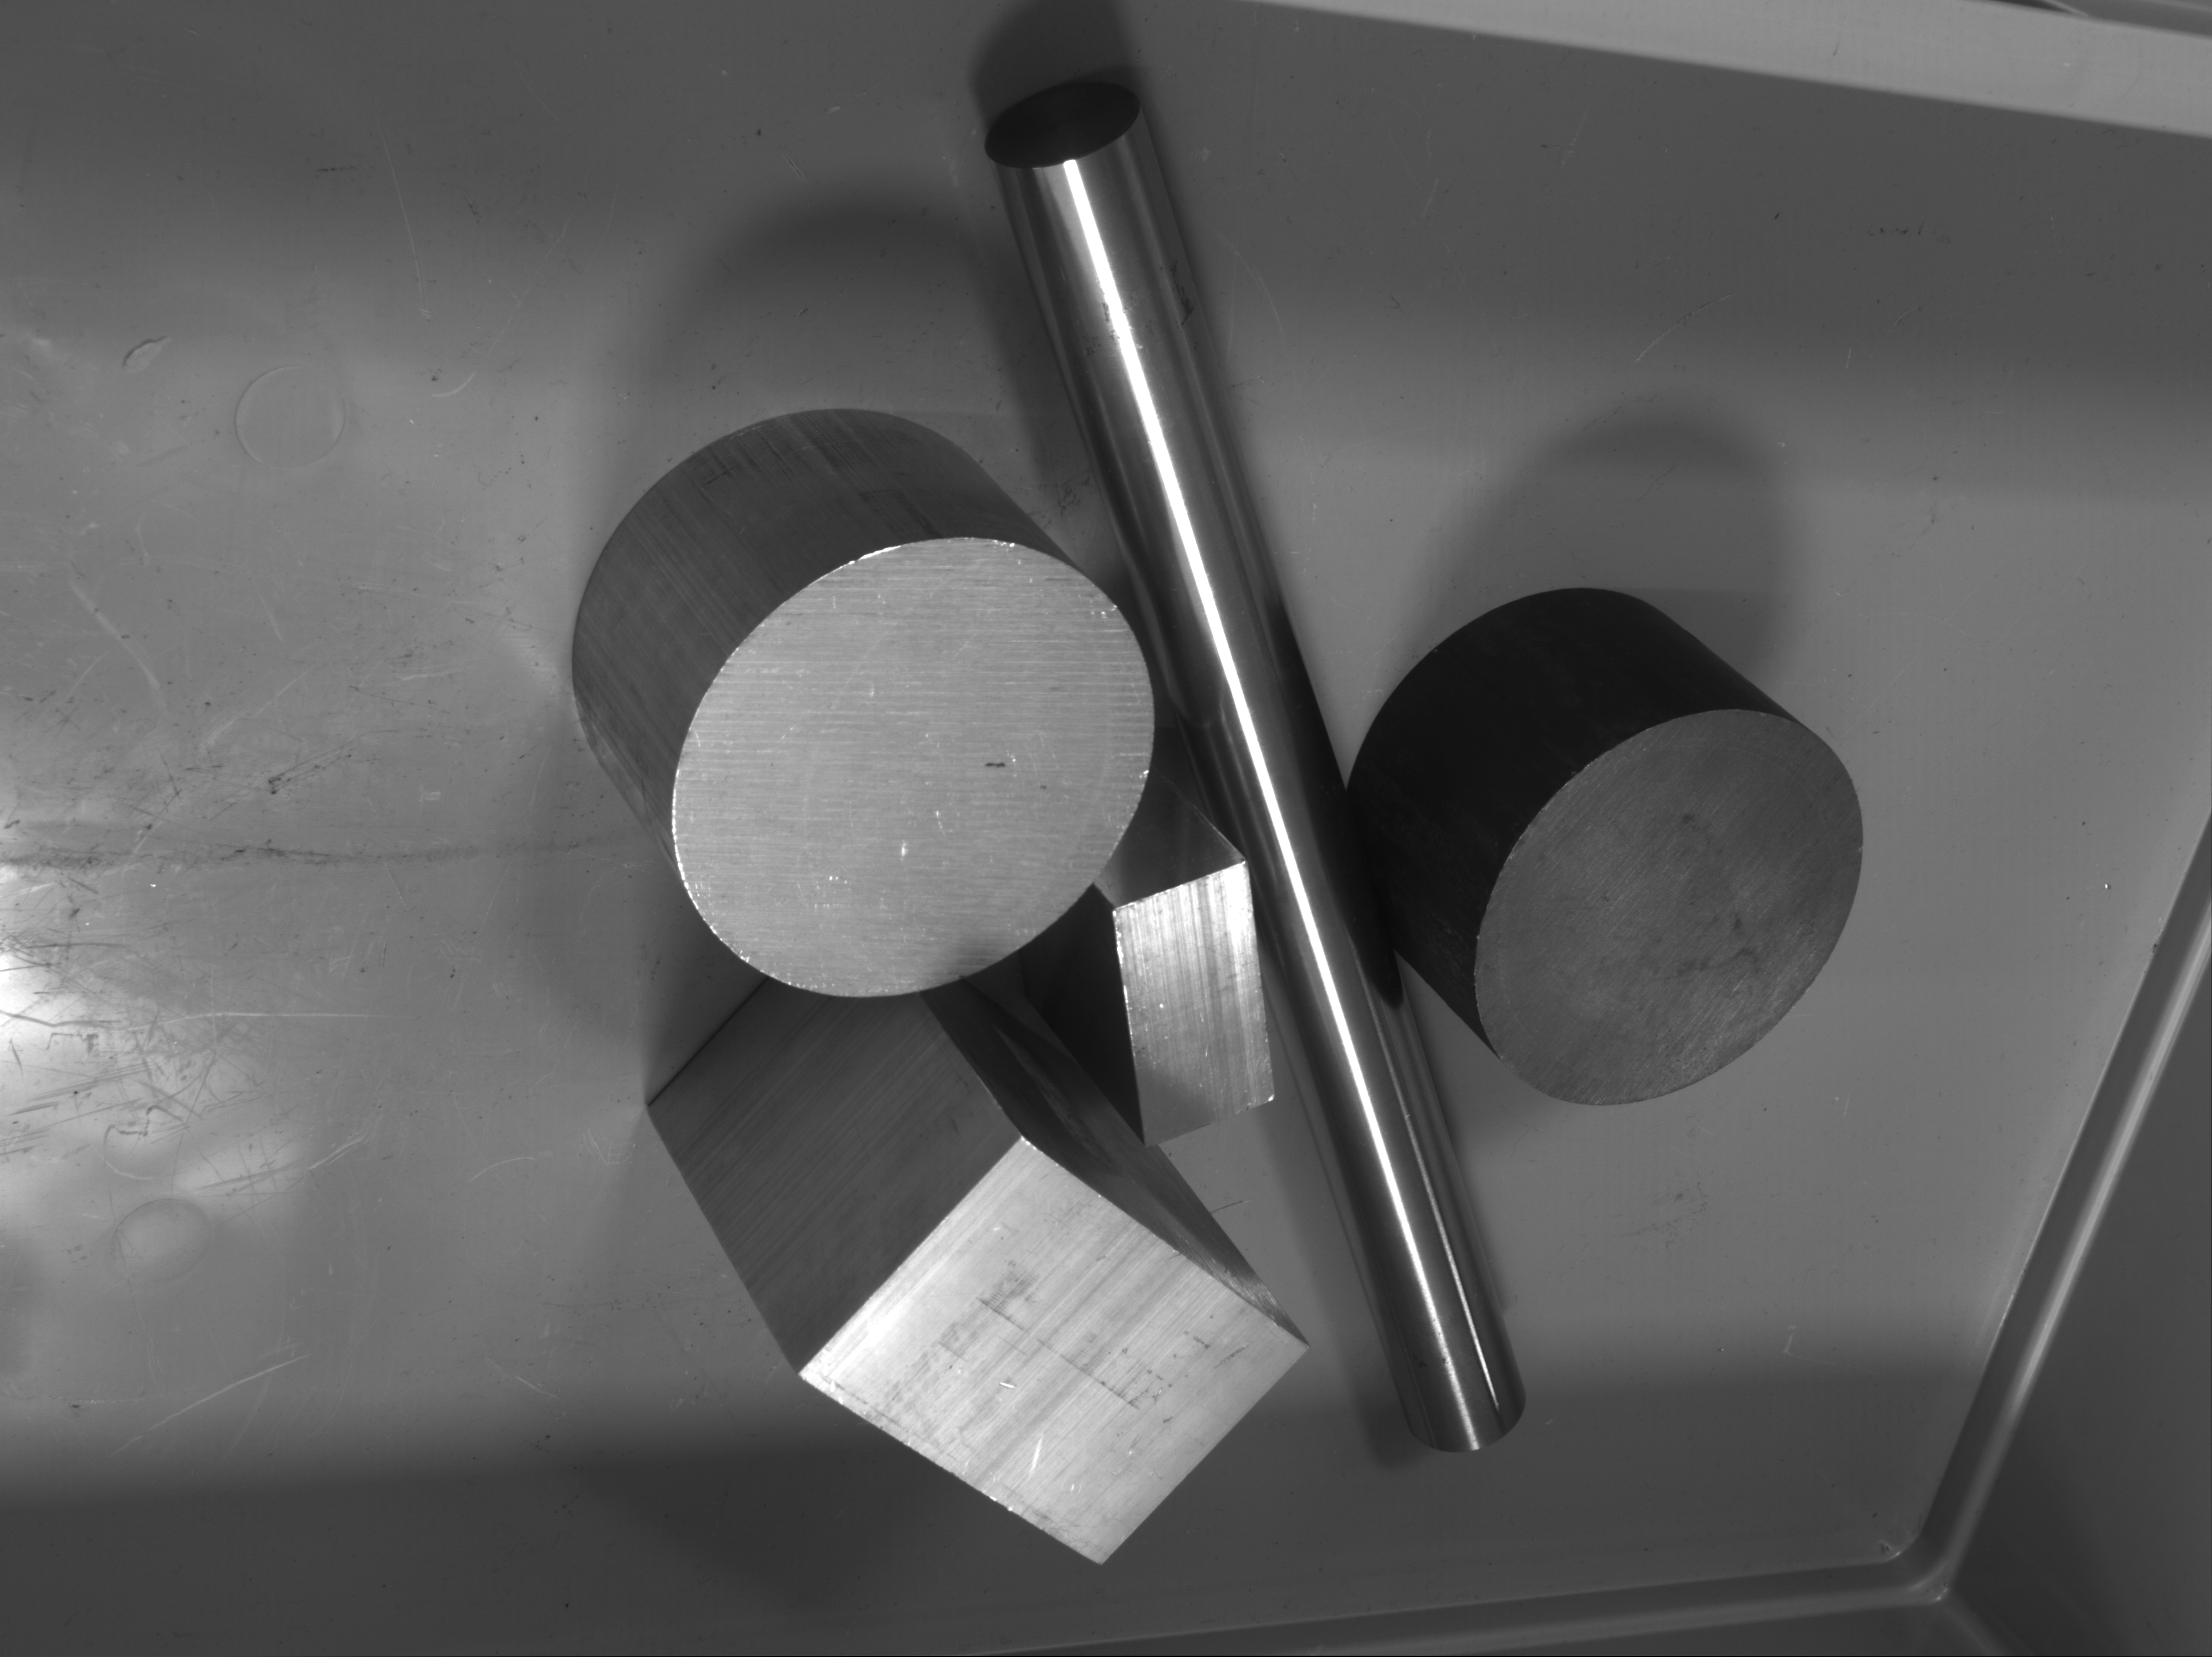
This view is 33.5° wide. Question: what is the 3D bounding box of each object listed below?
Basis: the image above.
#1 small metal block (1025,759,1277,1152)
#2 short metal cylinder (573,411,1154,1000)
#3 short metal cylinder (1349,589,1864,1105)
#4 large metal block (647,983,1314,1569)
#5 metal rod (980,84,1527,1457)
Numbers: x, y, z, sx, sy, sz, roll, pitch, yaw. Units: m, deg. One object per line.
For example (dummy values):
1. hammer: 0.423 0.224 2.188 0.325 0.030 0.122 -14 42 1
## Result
1. small metal block: 0.005 0.019 0.633 0.025 0.050 0.050 -20 126 -17
2. short metal cylinder: -0.039 -0.020 0.587 0.080 0.050 0.080 -13 124 -21
3. short metal cylinder: 0.090 0.003 0.670 0.080 0.050 0.080 -13 124 -21
4. large metal block: -0.022 0.069 0.630 0.050 0.080 0.080 -47 128 5
5. metal rod: 0.033 0.005 0.656 0.025 0.025 0.300 -28 128 -11
